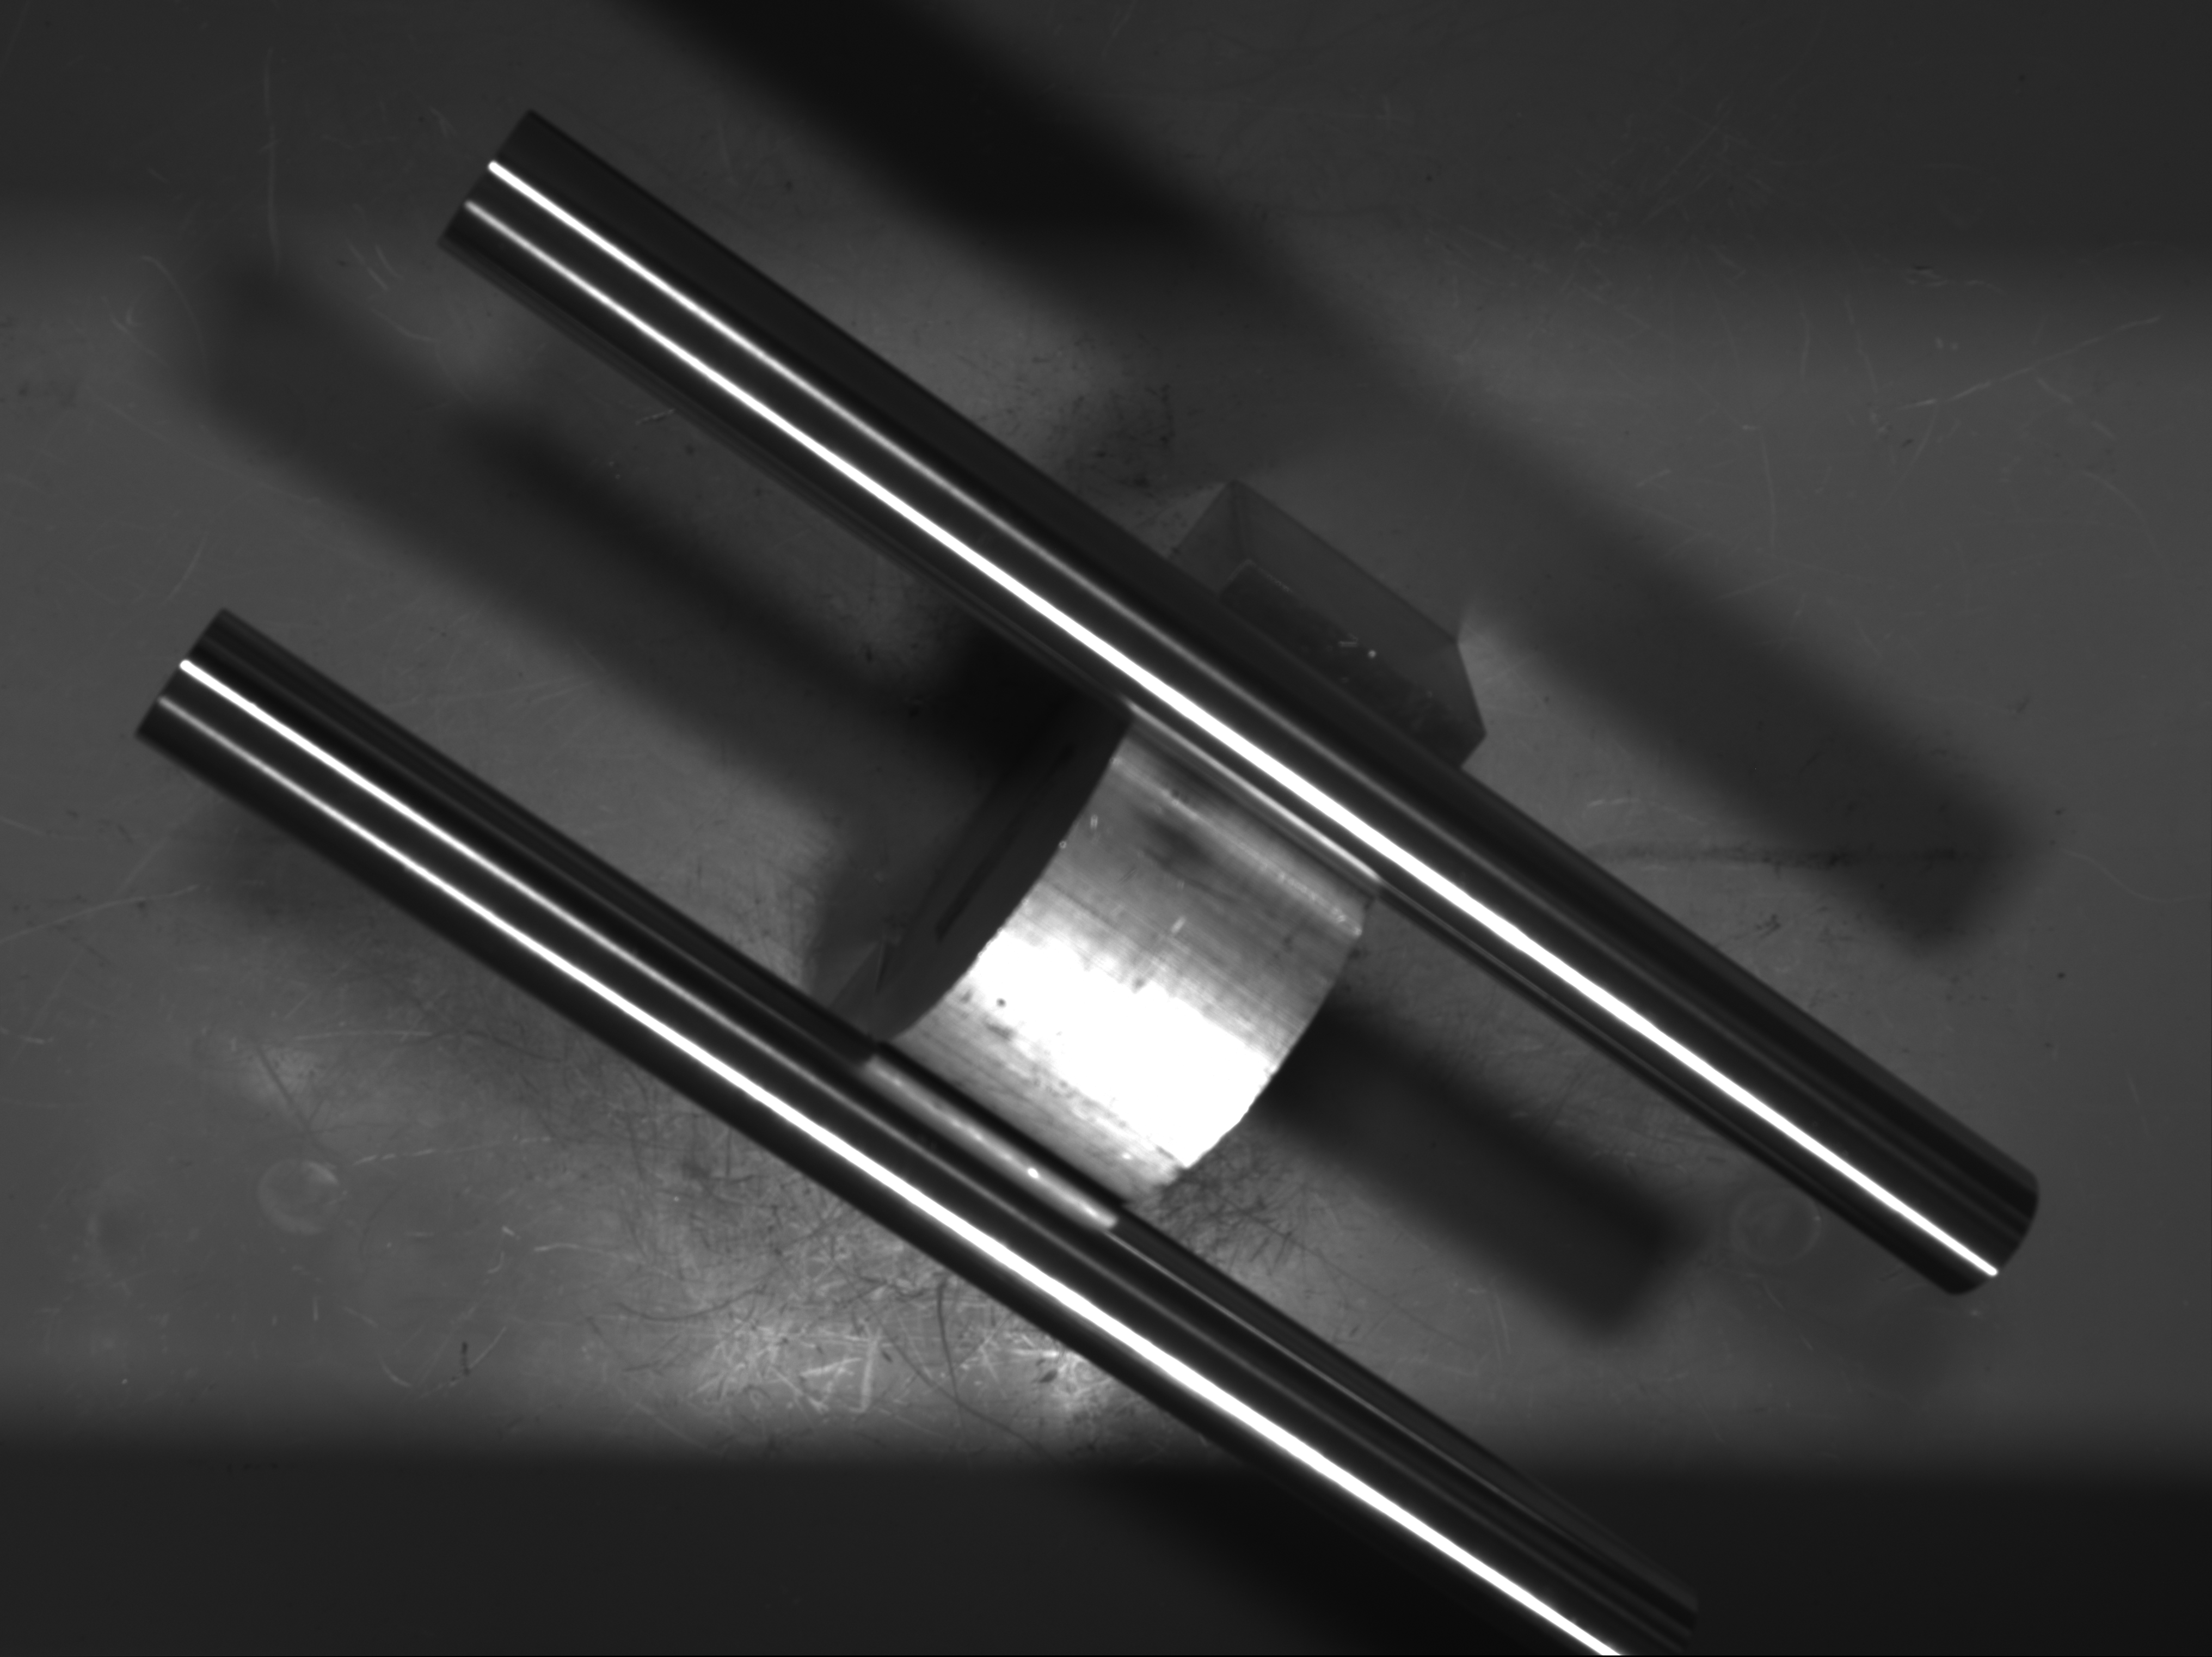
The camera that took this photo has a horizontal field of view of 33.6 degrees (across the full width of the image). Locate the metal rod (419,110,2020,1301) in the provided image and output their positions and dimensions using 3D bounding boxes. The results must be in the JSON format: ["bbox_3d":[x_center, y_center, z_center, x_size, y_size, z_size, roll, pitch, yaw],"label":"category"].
[{"bbox_3d":[0.024,-0.015,0.584,0.300,0.025,0.025,35,106,-12],"label":"metal rod"}]

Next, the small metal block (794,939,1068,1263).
[{"bbox_3d":[-0.031,0.052,0.647,0.050,0.050,0.025,35,106,-12],"label":"small metal block"}]

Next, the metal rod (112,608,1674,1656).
[{"bbox_3d":[-0.029,0.059,0.611,0.300,0.025,0.025,35,106,-12],"label":"metal rod"}]

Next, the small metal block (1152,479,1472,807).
[{"bbox_3d":[0.032,-0.028,0.618,0.050,0.050,0.025,35,106,-12],"label":"small metal block"}]

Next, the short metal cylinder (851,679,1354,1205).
[{"bbox_3d":[0.000,0.016,0.619,0.050,0.080,0.080,35,106,-12],"label":"short metal cylinder"}]
